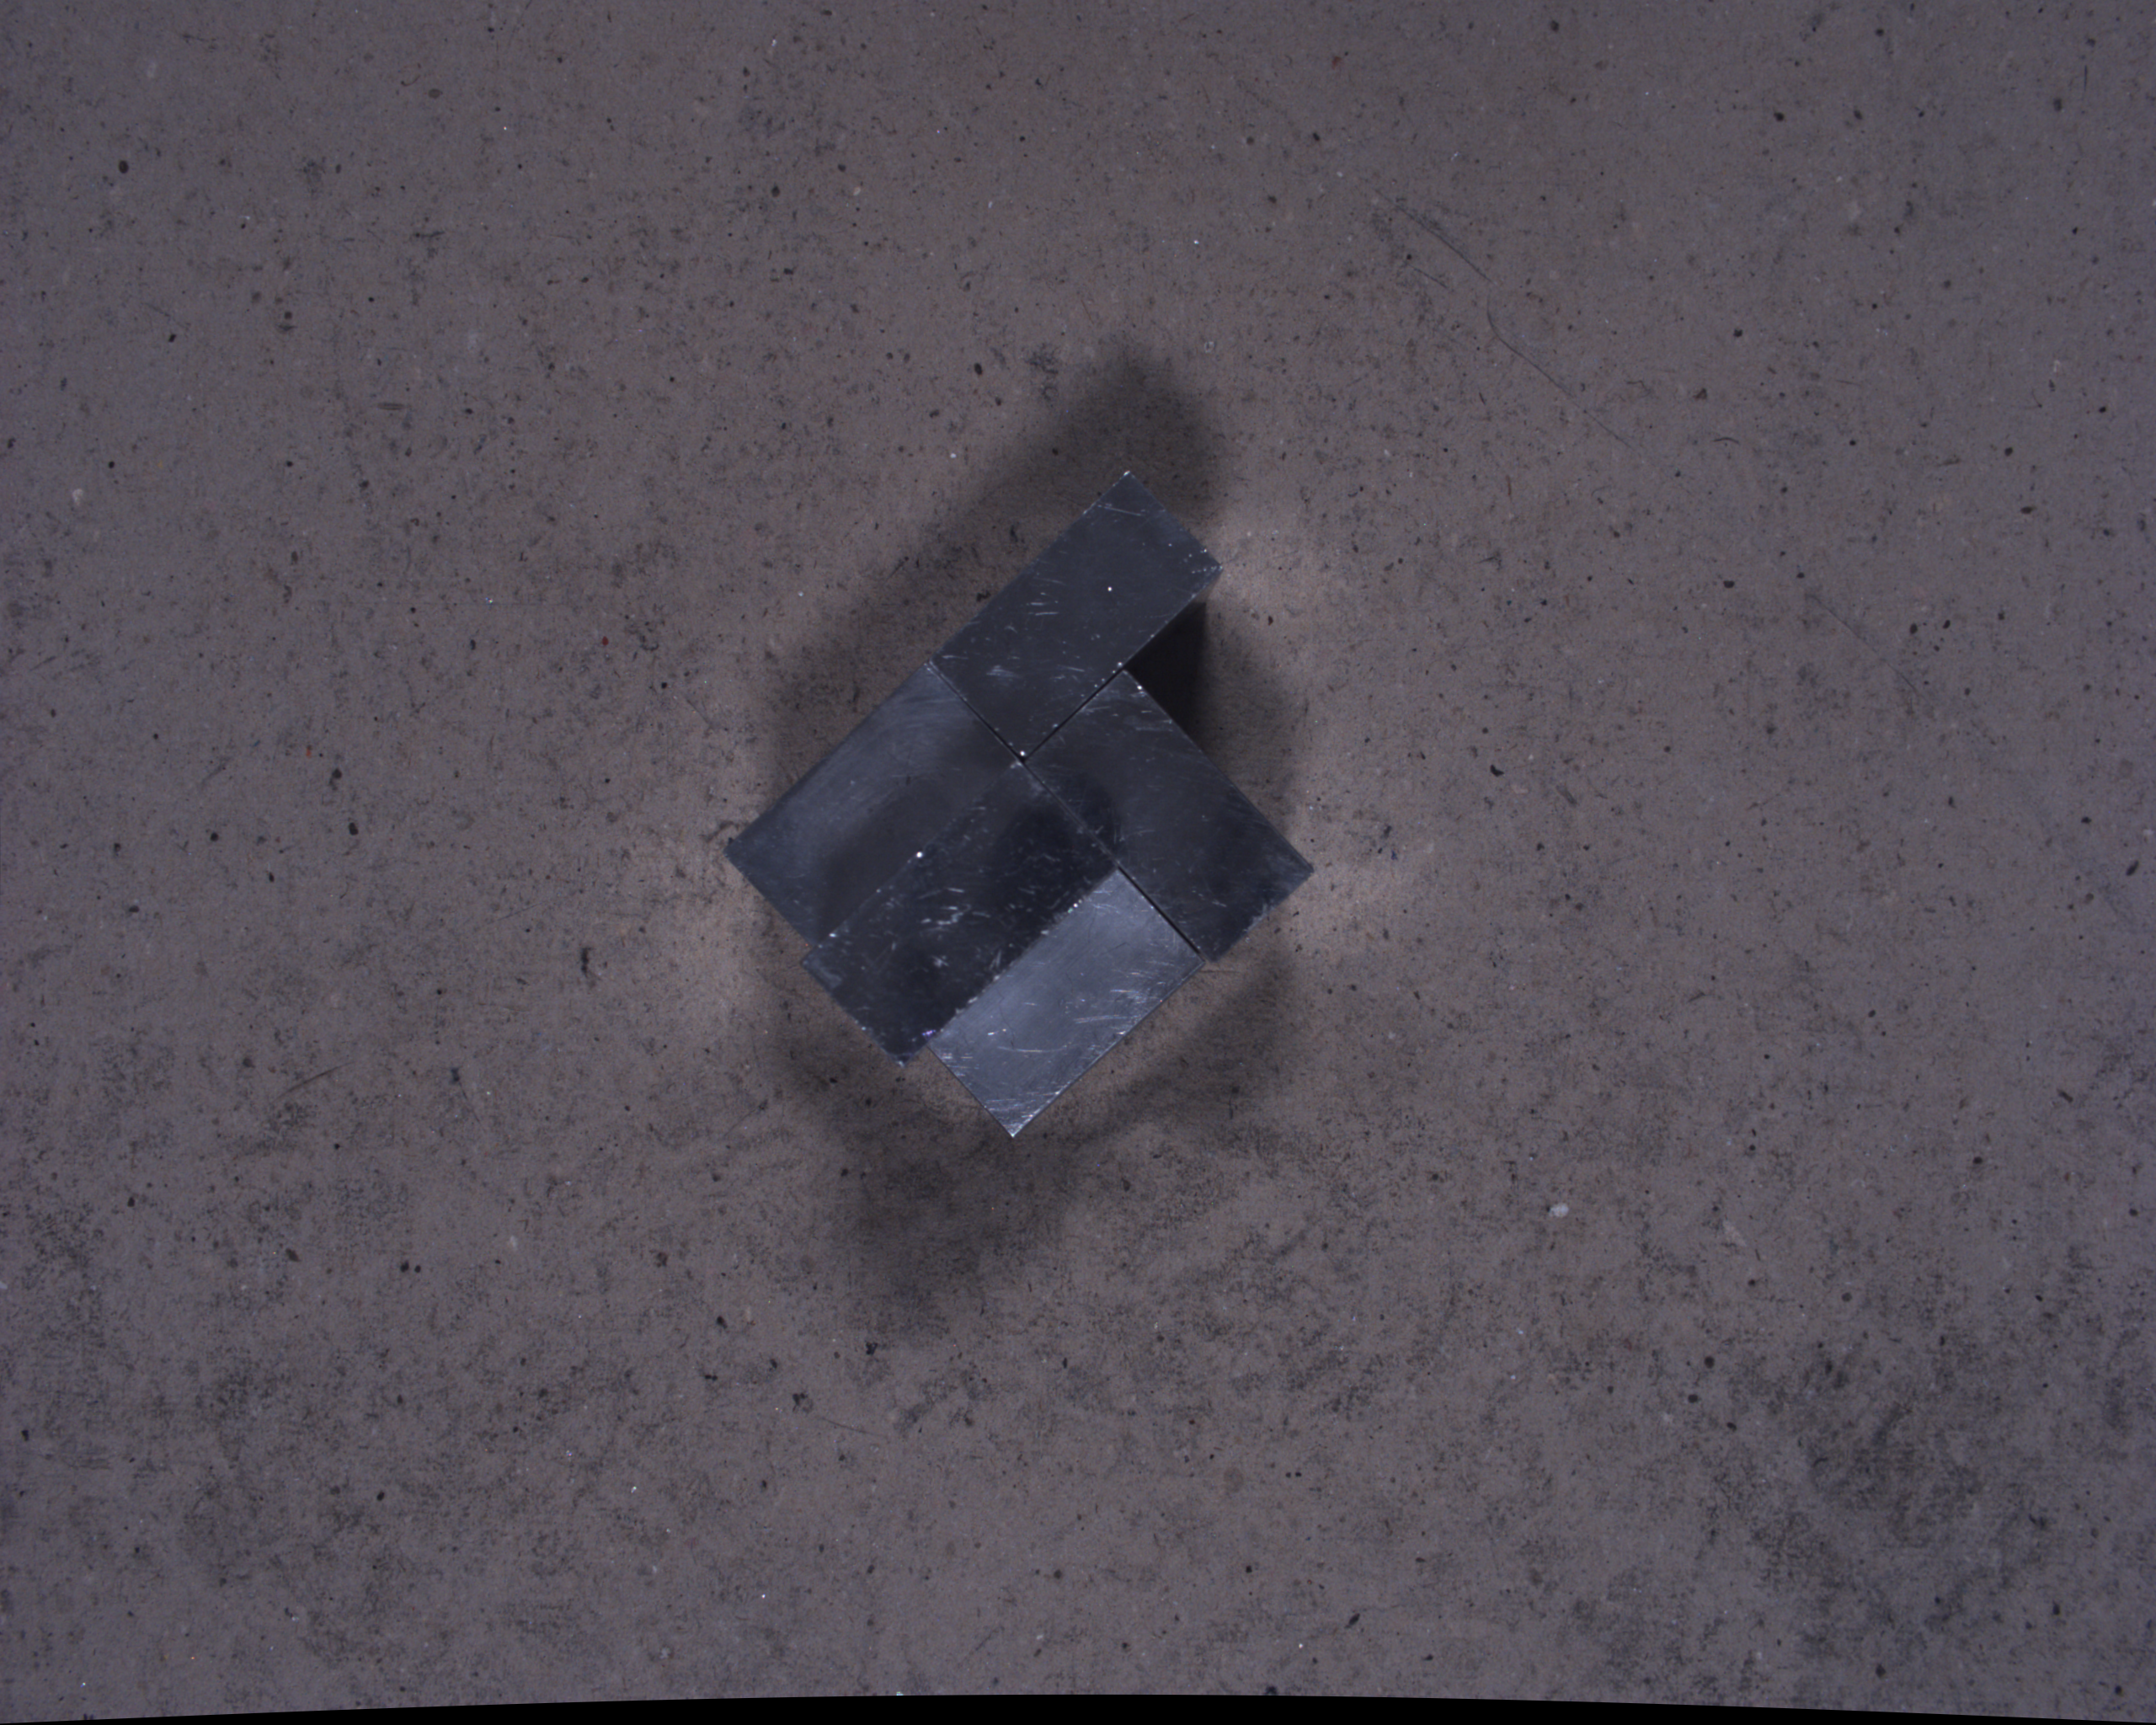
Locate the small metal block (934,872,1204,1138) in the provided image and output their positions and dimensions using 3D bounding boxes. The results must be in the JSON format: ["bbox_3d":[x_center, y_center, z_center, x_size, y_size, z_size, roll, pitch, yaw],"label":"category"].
[{"bbox_3d":[-0.011,0.018,0.411,0.050,0.025,0.050,-43,91,0],"label":"small metal block"}]

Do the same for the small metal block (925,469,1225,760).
[{"bbox_3d":[-0.001,-0.044,0.398,0.050,0.050,0.025,-43,91,0],"label":"small metal block"}]

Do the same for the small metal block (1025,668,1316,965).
[{"bbox_3d":[0.016,-0.008,0.399,0.025,0.050,0.050,-43,91,0],"label":"small metal block"}]

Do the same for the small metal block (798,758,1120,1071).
[{"bbox_3d":[-0.020,0.008,0.373,0.050,0.050,0.025,-43,91,0],"label":"small metal block"}]

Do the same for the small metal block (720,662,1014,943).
[{"bbox_3d":[-0.037,-0.010,0.398,0.050,0.050,0.025,-43,91,0],"label":"small metal block"}]
